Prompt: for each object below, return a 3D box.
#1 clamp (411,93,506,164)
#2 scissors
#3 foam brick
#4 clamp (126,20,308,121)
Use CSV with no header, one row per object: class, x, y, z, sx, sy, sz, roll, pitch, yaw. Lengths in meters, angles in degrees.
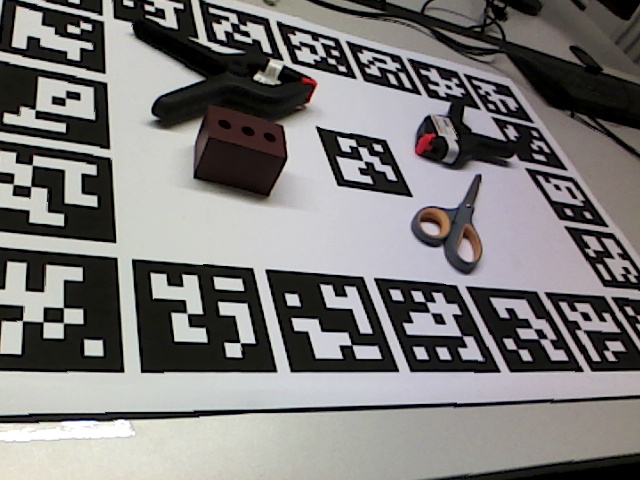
clamp,0.180,-0.146,0.850,0.164,0.036,0.122,-24,72,-43
scissors,0.161,-0.037,0.736,0.087,0.016,0.202,39,39,-4
foam brick,-0.084,-0.080,0.608,0.078,0.051,0.053,8,48,-19
clamp,-0.106,-0.180,0.701,0.201,0.037,0.166,2,46,-31
